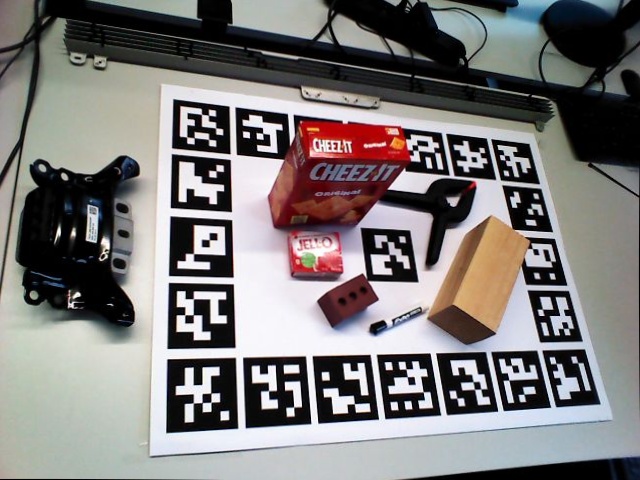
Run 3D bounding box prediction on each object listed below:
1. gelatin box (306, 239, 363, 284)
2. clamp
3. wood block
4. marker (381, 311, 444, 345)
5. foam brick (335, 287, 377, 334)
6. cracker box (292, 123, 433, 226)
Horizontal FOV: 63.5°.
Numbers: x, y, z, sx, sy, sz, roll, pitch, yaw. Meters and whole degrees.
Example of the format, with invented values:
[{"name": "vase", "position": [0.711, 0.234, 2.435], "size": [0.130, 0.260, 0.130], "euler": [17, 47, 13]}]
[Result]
[{"name": "gelatin box", "position": [0.024, 0.036, 0.863], "size": [0.089, 0.030, 0.073], "euler": [2, 71, -18]}, {"name": "clamp", "position": [0.260, -0.051, 0.969], "size": [0.202, 0.037, 0.165], "euler": [-30, 82, -25]}, {"name": "wood block", "position": [0.314, 0.082, 0.909], "size": [0.090, 0.091, 0.205], "euler": [34, 60, -1]}, {"name": "marker", "position": [0.155, 0.147, 0.865], "size": [0.120, 0.020, 0.019], "euler": [-18, 78, -23]}, {"name": "foam brick", "position": [0.072, 0.109, 0.835], "size": [0.078, 0.052, 0.052], "euler": [-23, 80, -24]}, {"name": "cracker box", "position": [0.060, -0.092, 0.813], "size": [0.164, 0.215, 0.071], "euler": [0, 69, -21]}]
